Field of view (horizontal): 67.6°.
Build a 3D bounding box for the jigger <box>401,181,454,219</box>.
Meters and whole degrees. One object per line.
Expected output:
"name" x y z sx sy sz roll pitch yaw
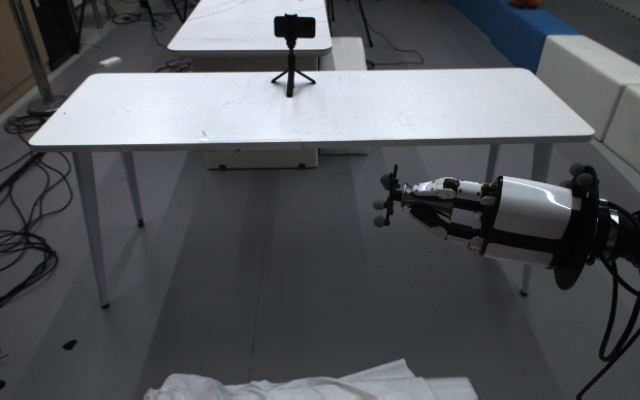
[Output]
"jigger" 0.154 -0.004 0.664 0.071 0.043 0.043 10 35 15
